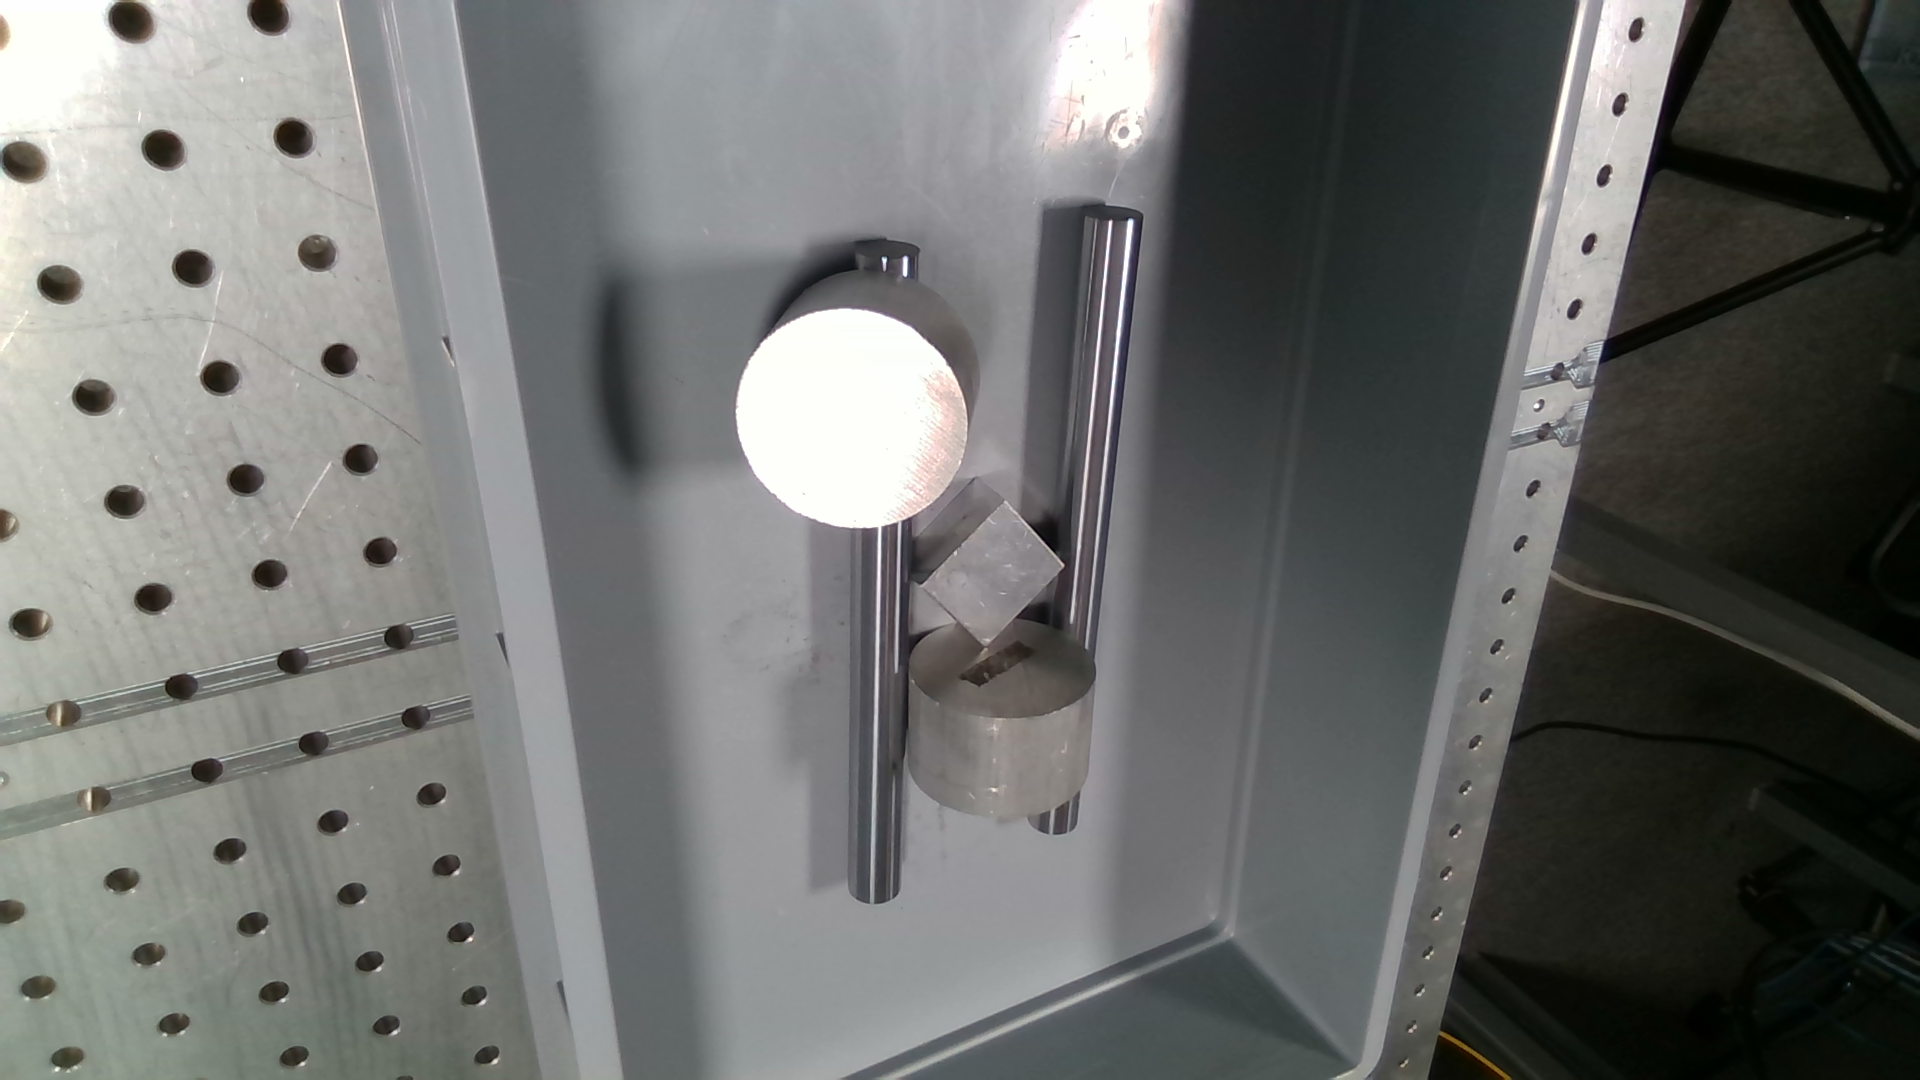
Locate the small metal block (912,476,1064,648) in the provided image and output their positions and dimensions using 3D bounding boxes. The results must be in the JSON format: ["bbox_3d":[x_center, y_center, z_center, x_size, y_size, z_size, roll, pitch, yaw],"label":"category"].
[{"bbox_3d":[0.008,0.010,0.590,0.050,0.025,0.050,-46,129,-2],"label":"small metal block"}]

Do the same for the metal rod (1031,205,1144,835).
[{"bbox_3d":[0.053,0.004,0.613,0.025,0.025,0.301,-11,120,-26],"label":"metal rod"}]

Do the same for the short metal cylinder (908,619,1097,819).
[{"bbox_3d":[0.017,0.075,0.595,0.080,0.080,0.050,-13,121,-26],"label":"short metal cylinder"}]

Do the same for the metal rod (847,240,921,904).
[{"bbox_3d":[-0.033,0.027,0.573,0.025,0.025,0.301,-12,120,-26],"label":"metal rod"}]

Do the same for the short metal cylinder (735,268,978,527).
[{"bbox_3d":[-0.035,-0.051,0.491,0.080,0.050,0.080,2,117,5],"label":"short metal cylinder"}]
